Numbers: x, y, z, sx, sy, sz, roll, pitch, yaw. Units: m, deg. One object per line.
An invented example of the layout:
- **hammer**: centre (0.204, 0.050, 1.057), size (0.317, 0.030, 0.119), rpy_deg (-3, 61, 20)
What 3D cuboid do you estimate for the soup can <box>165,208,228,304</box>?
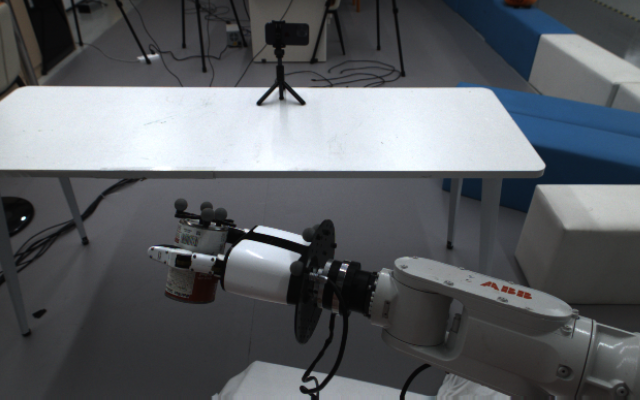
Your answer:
- **soup can**: centre (-0.163, 0.081, 0.643), size (0.067, 0.101, 0.067), rpy_deg (12, 2, 0)
